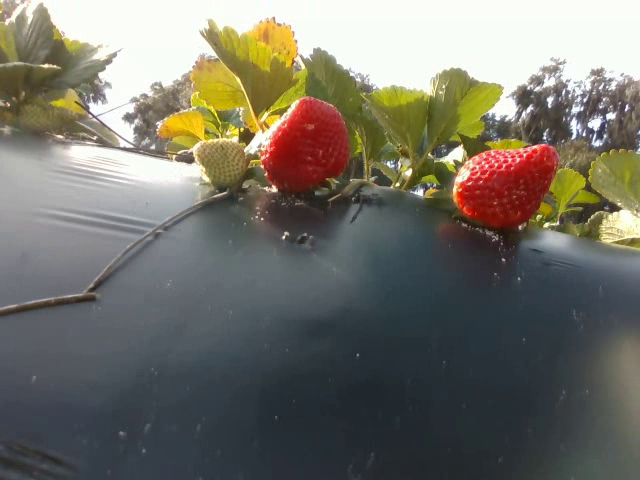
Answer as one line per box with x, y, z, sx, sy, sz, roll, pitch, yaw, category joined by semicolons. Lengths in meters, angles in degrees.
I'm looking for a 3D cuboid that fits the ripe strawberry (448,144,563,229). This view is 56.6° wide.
0.063;-0.023;0.190;0.033;0.038;0.039;32;-31;5;ripe strawberry

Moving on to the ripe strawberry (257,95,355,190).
-0.005;-0.038;0.201;0.035;0.041;0.036;-1;-23;5;ripe strawberry
